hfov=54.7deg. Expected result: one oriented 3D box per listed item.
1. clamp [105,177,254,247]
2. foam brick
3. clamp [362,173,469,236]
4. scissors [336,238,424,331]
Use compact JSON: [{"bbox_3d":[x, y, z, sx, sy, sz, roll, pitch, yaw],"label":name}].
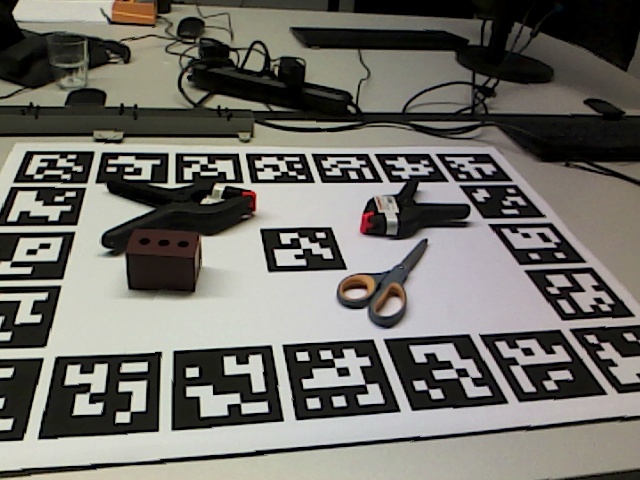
[{"bbox_3d":[-0.192,-0.046,0.859,0.202,0.036,0.166,-3,33,-16],"label":"clamp"},{"bbox_3d":[-0.183,0.029,0.744,0.078,0.051,0.053,-1,36,-3],"label":"foam brick"},{"bbox_3d":[0.127,-0.046,0.920,0.164,0.036,0.122,-21,50,-33],"label":"clamp"},{"bbox_3d":[0.093,0.042,0.792,0.088,0.016,0.202,28,38,16],"label":"scissors"}]
